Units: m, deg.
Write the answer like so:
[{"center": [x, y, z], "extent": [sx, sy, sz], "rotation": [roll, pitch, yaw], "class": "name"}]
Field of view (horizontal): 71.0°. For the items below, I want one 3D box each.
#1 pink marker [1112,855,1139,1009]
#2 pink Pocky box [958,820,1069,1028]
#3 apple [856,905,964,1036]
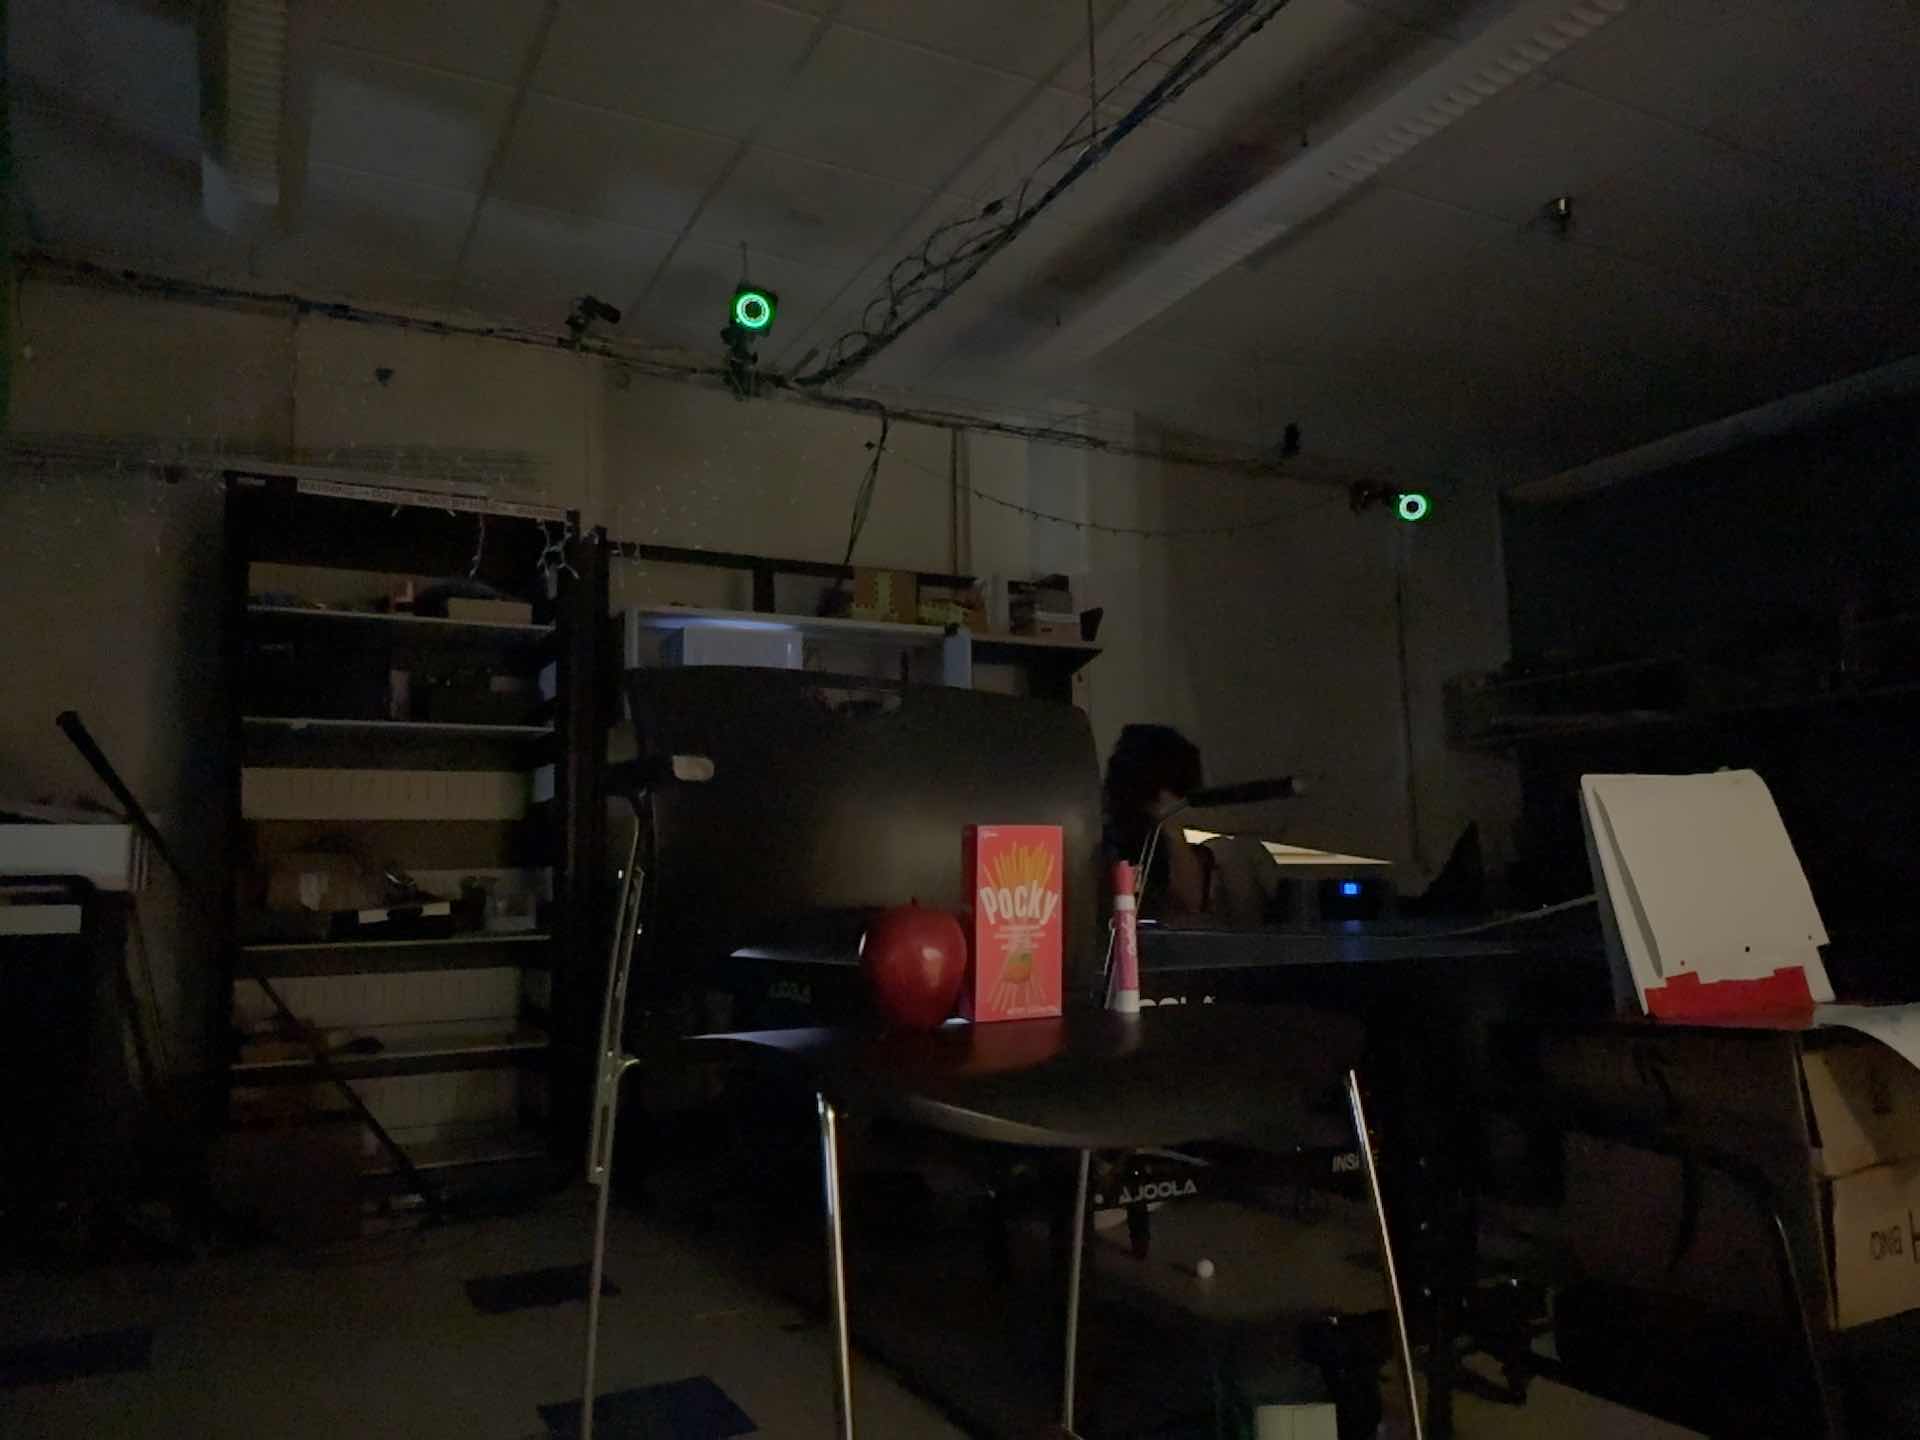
[{"center": [0.133, 0.170, 1.084], "extent": [0.020, 0.121, 0.020], "rotation": [0, -7, 0], "class": "pink marker"}, {"center": [0.041, 0.155, 1.035], "extent": [0.084, 0.155, 0.029], "rotation": [3, -7, -29], "class": "pink Pocky box"}, {"center": [-0.037, 0.181, 0.981], "extent": [0.079, 0.093, 0.079], "rotation": [-3, -11, -1], "class": "apple"}]
